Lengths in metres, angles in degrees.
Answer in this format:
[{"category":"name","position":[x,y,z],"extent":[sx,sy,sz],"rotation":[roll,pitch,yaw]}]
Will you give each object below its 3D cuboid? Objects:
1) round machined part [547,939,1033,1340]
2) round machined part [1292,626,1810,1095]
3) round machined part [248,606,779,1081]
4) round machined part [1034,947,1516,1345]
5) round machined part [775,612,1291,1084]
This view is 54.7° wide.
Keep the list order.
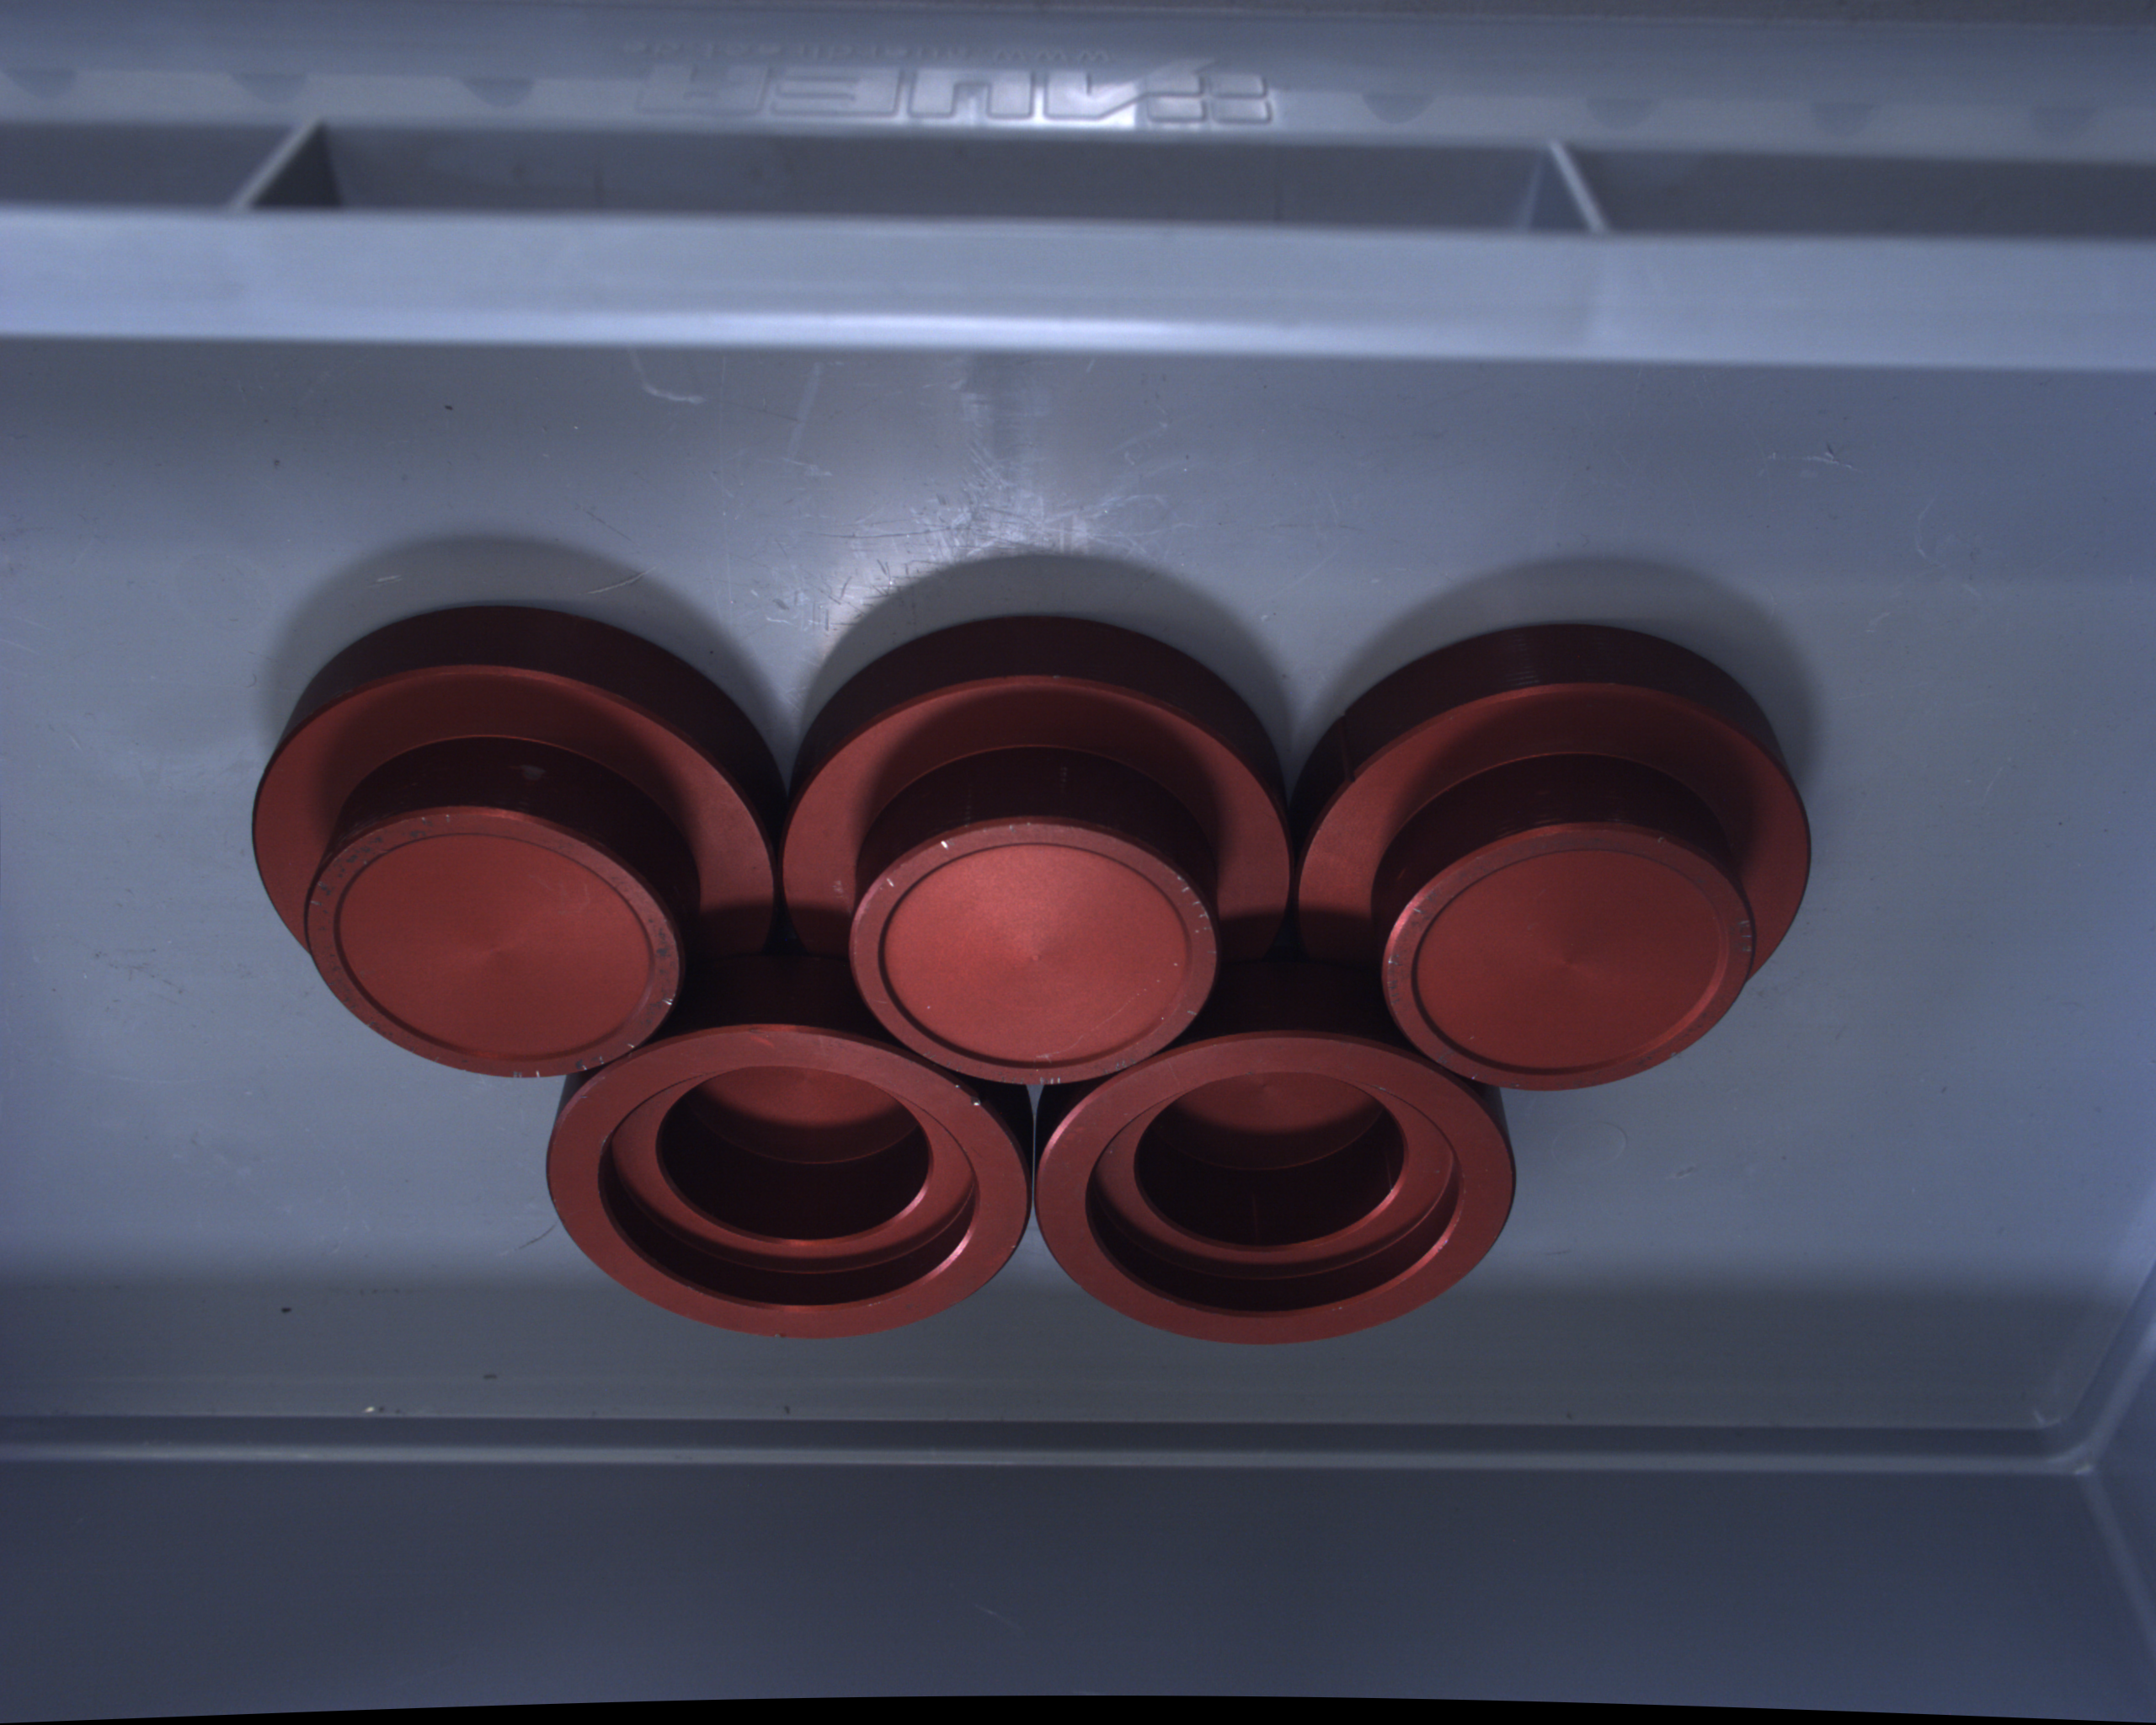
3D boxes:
[{"category":"round machined part","position":[-0.058,0.055,0.441],"extent":[0.099,0.042,0.097],"rotation":[0,130,0]},{"category":"round machined part","position":[0.091,0.007,0.401],"extent":[0.099,0.042,0.097],"rotation":[0,129,0]},{"category":"round machined part","position":[-0.107,0.003,0.396],"extent":[0.099,0.042,0.097],"rotation":[-1,129,-1]},{"category":"round machined part","position":[0.040,0.056,0.444],"extent":[0.099,0.042,0.097],"rotation":[0,130,0]},{"category":"round machined part","position":[-0.009,0.004,0.398],"extent":[0.099,0.042,0.097],"rotation":[0,129,0]}]
